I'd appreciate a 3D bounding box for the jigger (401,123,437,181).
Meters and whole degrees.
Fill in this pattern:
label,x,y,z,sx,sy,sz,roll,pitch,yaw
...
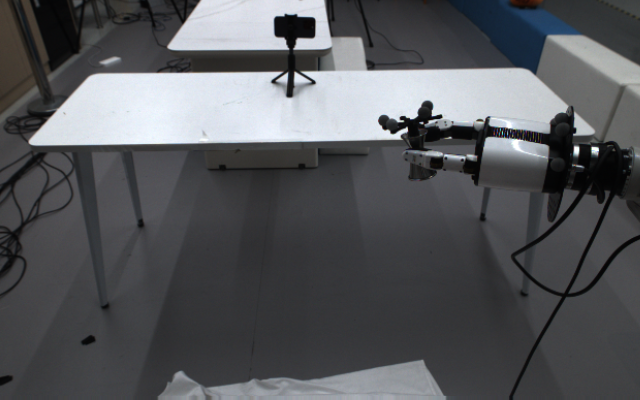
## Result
label,x,y,z,sx,sy,sz,roll,pitch,yaw
jigger,0.148,-0.069,0.726,0.043,0.071,0.043,-14,21,6
